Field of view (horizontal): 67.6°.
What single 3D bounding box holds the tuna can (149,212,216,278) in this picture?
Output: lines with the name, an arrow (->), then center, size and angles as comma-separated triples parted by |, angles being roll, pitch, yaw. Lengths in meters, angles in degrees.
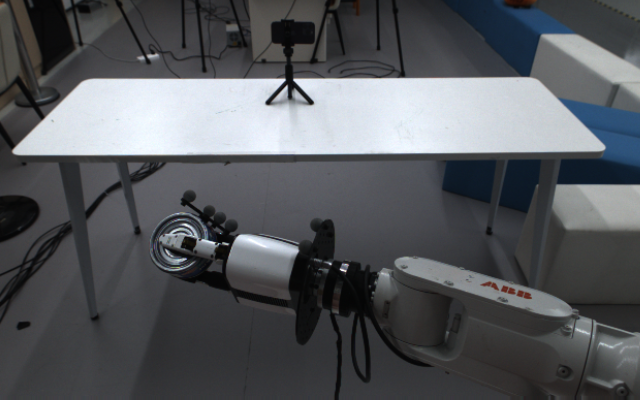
tuna can -> -0.183, 0.061, 0.651 | 0.085, 0.034, 0.085 | -4, 69, 10
